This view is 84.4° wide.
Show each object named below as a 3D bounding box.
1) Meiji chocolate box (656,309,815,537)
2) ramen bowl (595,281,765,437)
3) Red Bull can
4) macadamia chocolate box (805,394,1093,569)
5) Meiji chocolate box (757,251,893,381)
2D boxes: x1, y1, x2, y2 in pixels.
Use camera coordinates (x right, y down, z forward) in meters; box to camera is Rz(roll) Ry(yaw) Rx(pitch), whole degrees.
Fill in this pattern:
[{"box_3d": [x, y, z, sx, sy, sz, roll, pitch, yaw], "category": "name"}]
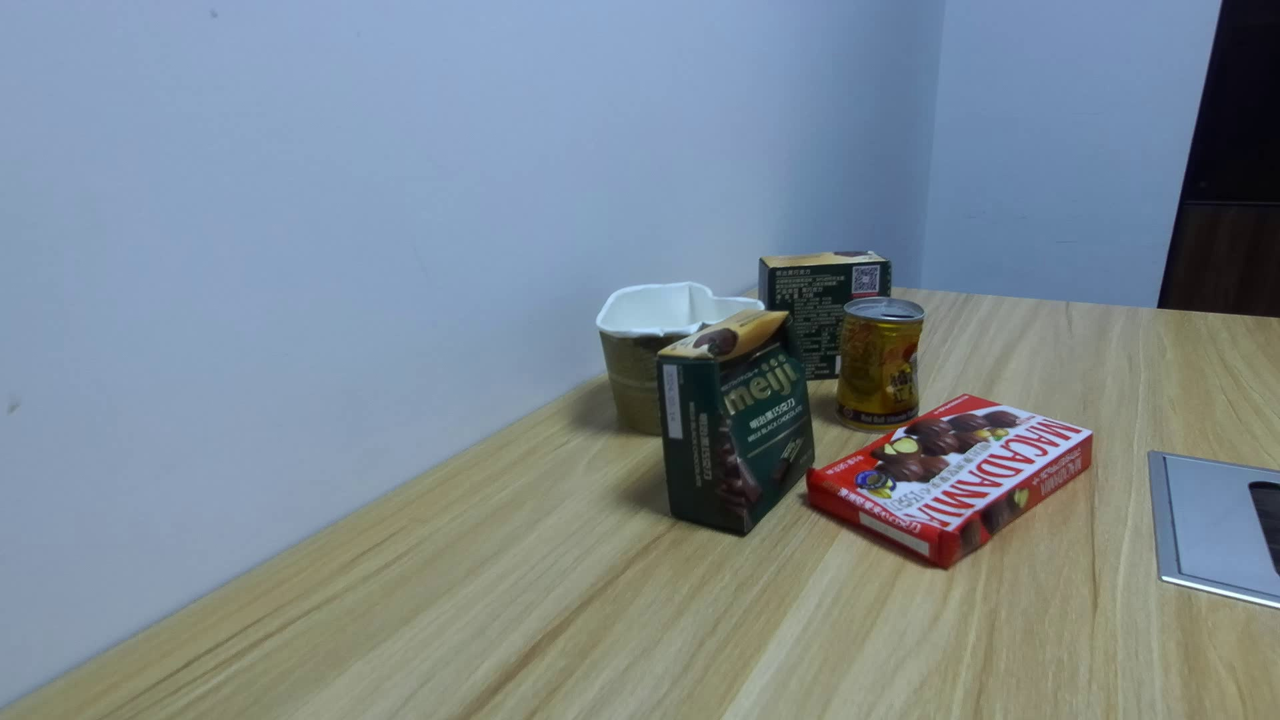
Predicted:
[{"box_3d": [0.065, 0.033, 0.457, 0.051, 0.117, 0.118, 2, 19, 37], "category": "Meiji chocolate box"}, {"box_3d": [0.025, -0.002, 0.589, 0.134, 0.097, 0.113, -14, 24, -30], "category": "ramen bowl"}, {"box_3d": [0.187, 0.003, 0.550, 0.072, 0.092, 0.072, -2, 20, 1], "category": "Red Bull can"}, {"box_3d": [0.204, 0.070, 0.462, 0.184, 0.028, 0.105, -18, 24, -33], "category": "macadamia chocolate box"}, {"box_3d": [0.168, -0.042, 0.654, 0.113, 0.111, 0.058, -4, 19, -1], "category": "Meiji chocolate box"}]
